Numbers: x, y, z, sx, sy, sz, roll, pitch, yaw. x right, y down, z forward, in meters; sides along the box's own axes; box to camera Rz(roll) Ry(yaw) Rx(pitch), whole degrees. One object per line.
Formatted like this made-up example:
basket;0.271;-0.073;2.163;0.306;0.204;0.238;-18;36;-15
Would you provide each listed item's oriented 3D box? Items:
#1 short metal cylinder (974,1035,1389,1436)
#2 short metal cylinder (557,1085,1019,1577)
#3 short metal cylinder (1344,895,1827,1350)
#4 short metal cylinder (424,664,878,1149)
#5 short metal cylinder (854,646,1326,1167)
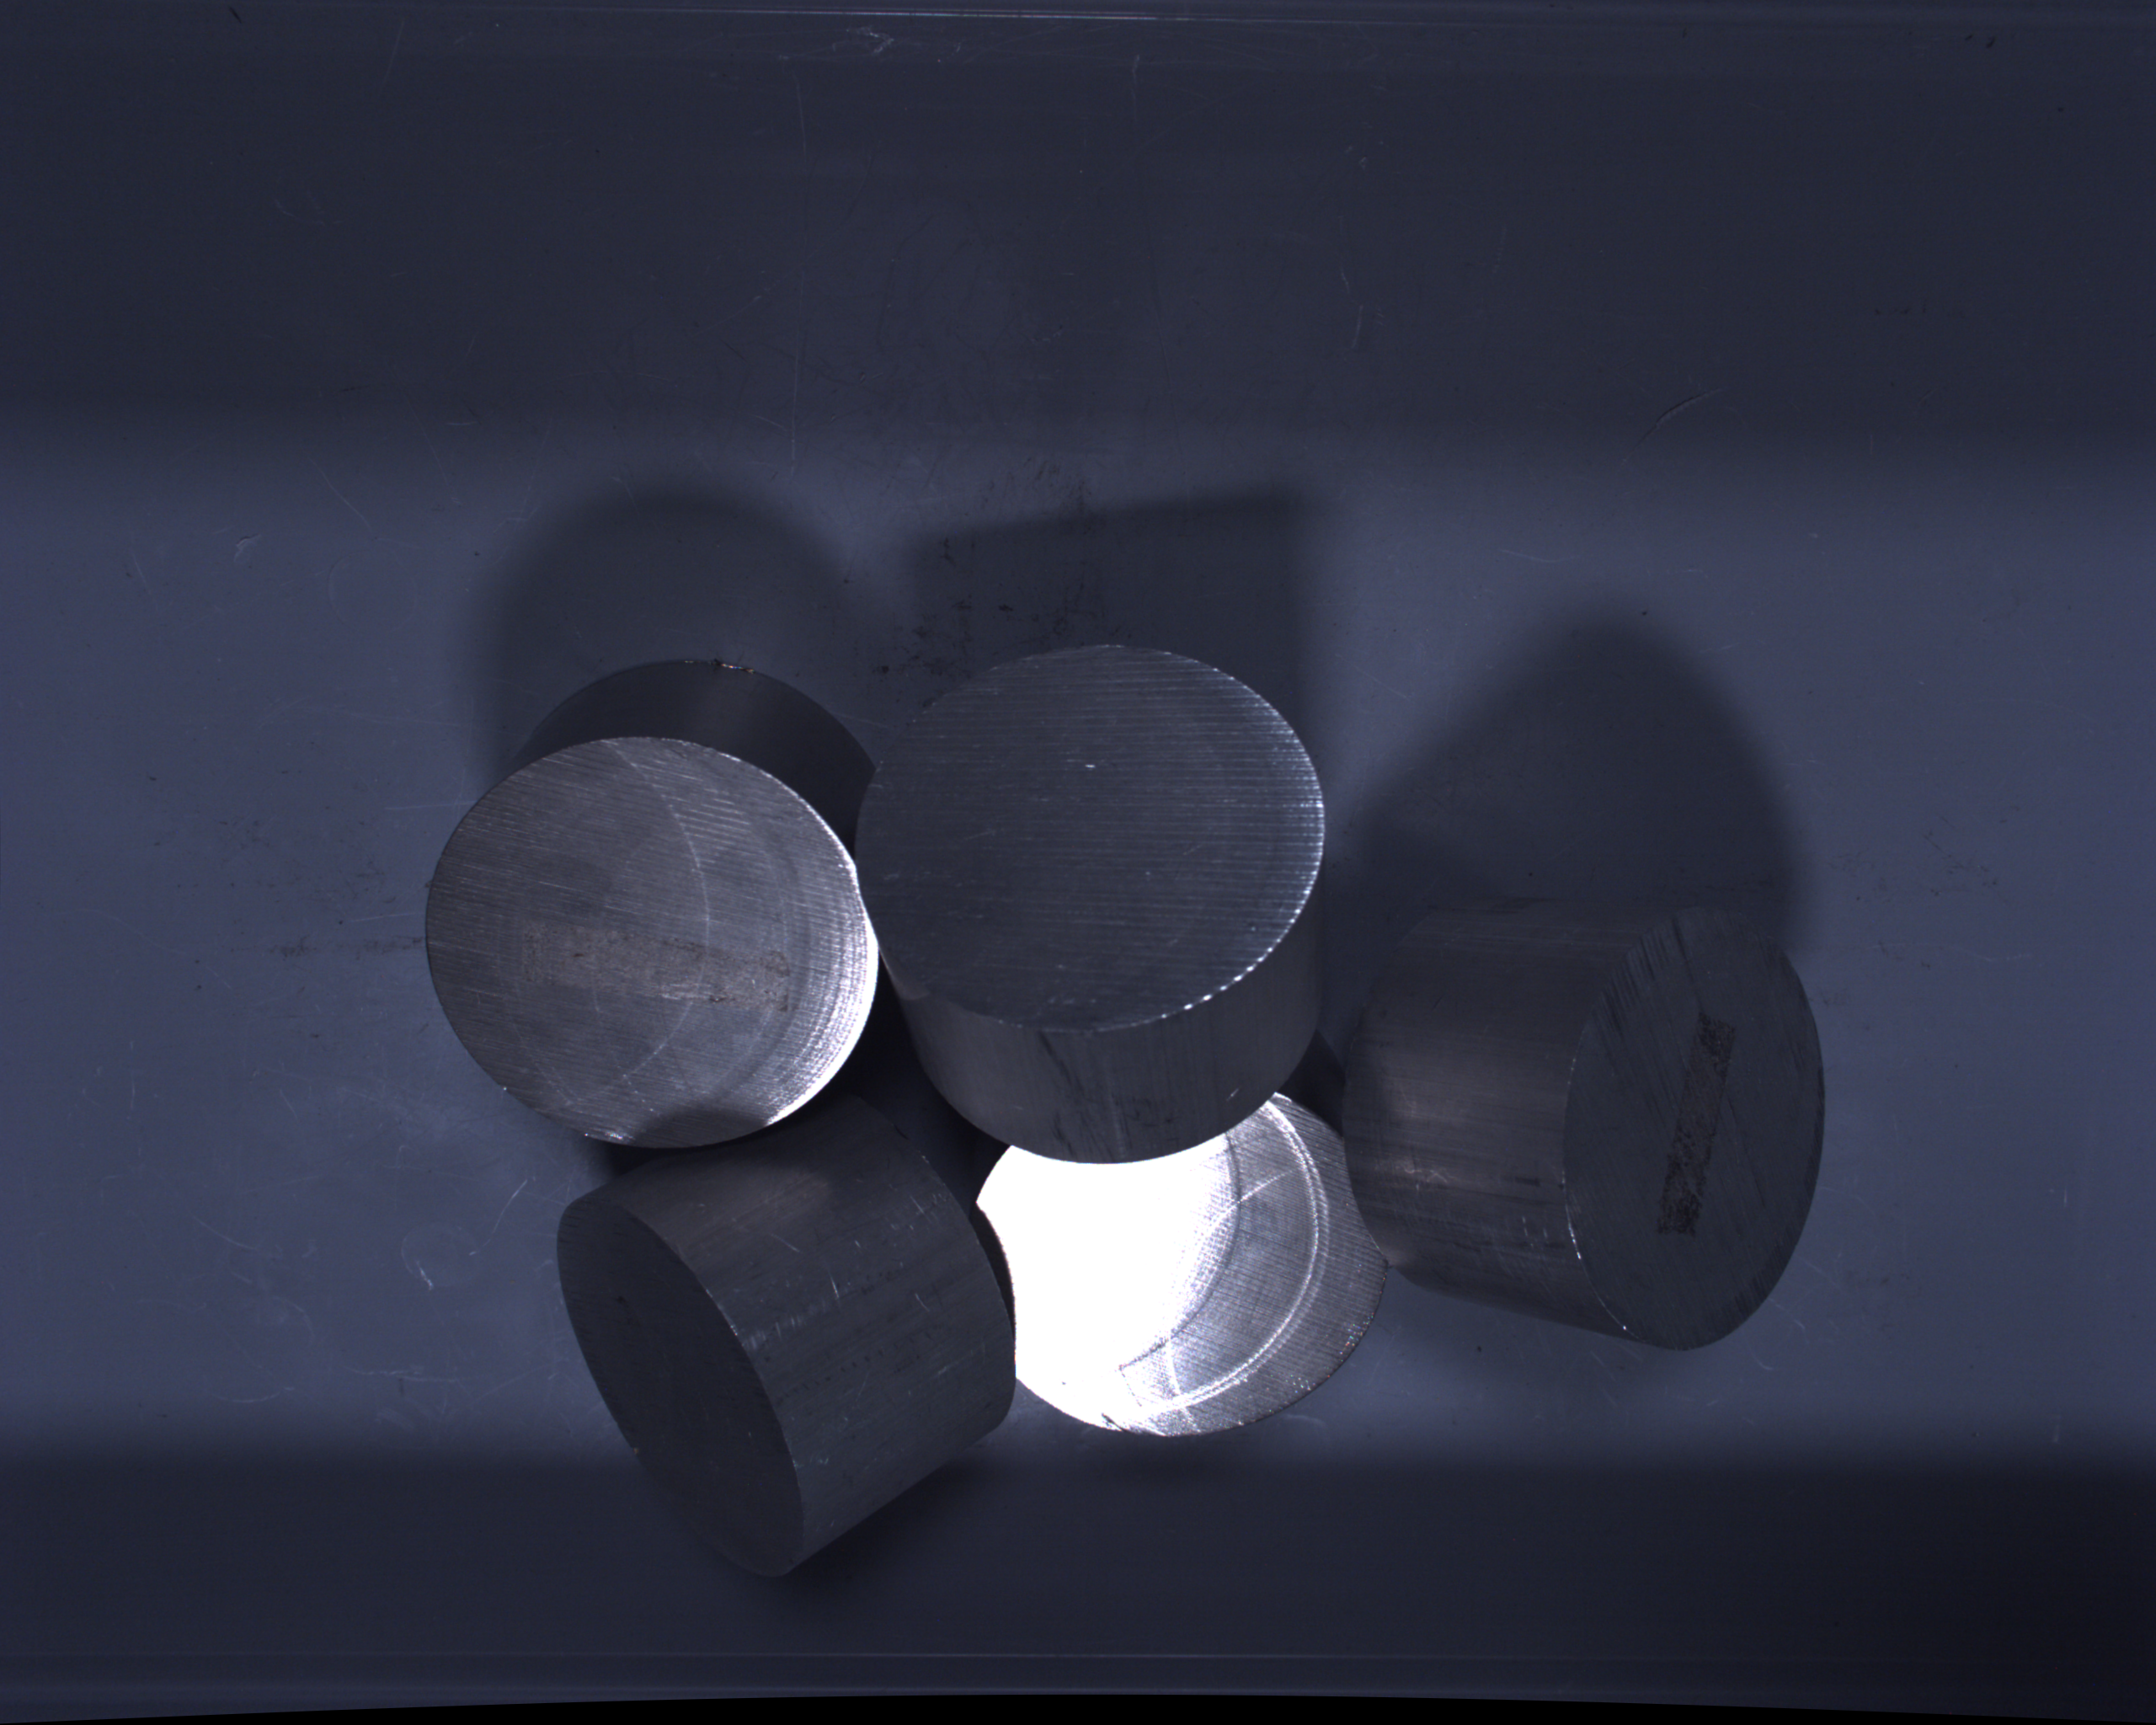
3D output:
short metal cylinder;0.019;0.067;0.421;0.081;0.050;0.079;0;110;-1
short metal cylinder;-0.057;0.089;0.405;0.050;0.080;0.079;-27;115;-36
short metal cylinder;0.096;0.047;0.393;0.081;0.050;0.079;-2;93;-39
short metal cylinder;-0.077;0.007;0.397;0.081;0.050;0.079;0;110;-1
short metal cylinder;0.004;0.008;0.375;0.080;0.080;0.050;-8;146;2
